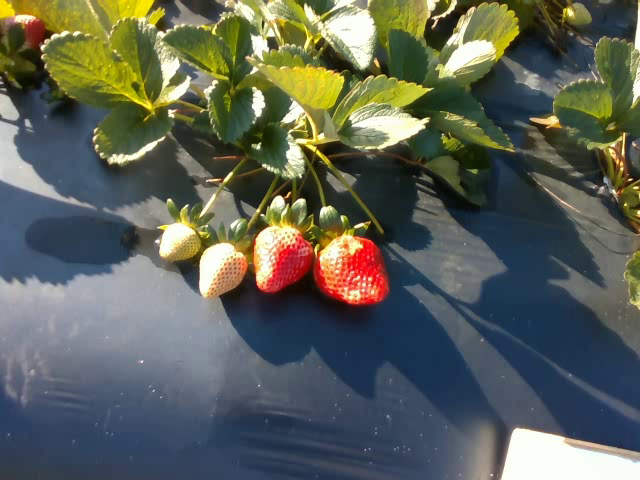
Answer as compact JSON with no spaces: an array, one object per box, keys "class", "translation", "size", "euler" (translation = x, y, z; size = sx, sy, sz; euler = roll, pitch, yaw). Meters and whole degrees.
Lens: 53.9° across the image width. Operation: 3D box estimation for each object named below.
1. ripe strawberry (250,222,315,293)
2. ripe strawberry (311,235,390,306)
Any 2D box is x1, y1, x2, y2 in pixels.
[{"class":"ripe strawberry","translation":[-0.028,0.014,0.399],"size":[0.050,0.061,0.043],"euler":[37,-47,-10]},{"class":"ripe strawberry","translation":[0.025,0.024,0.401],"size":[0.067,0.056,0.052],"euler":[48,-5,47]}]
